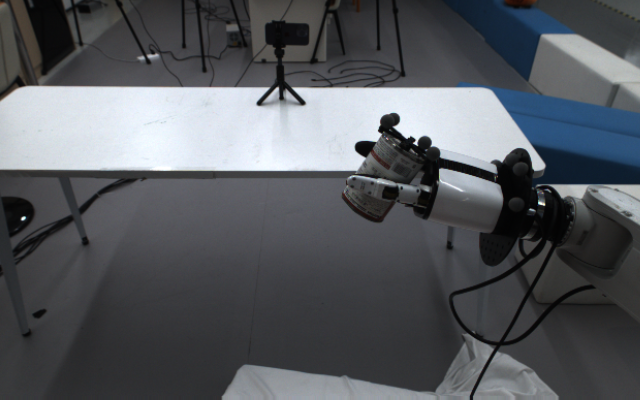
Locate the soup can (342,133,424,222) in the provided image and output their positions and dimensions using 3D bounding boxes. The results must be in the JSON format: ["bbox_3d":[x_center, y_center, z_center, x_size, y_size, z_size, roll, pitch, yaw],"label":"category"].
[{"bbox_3d":[0.084,-0.030,0.638,0.067,0.101,0.067,29,21,-12],"label":"soup can"}]
